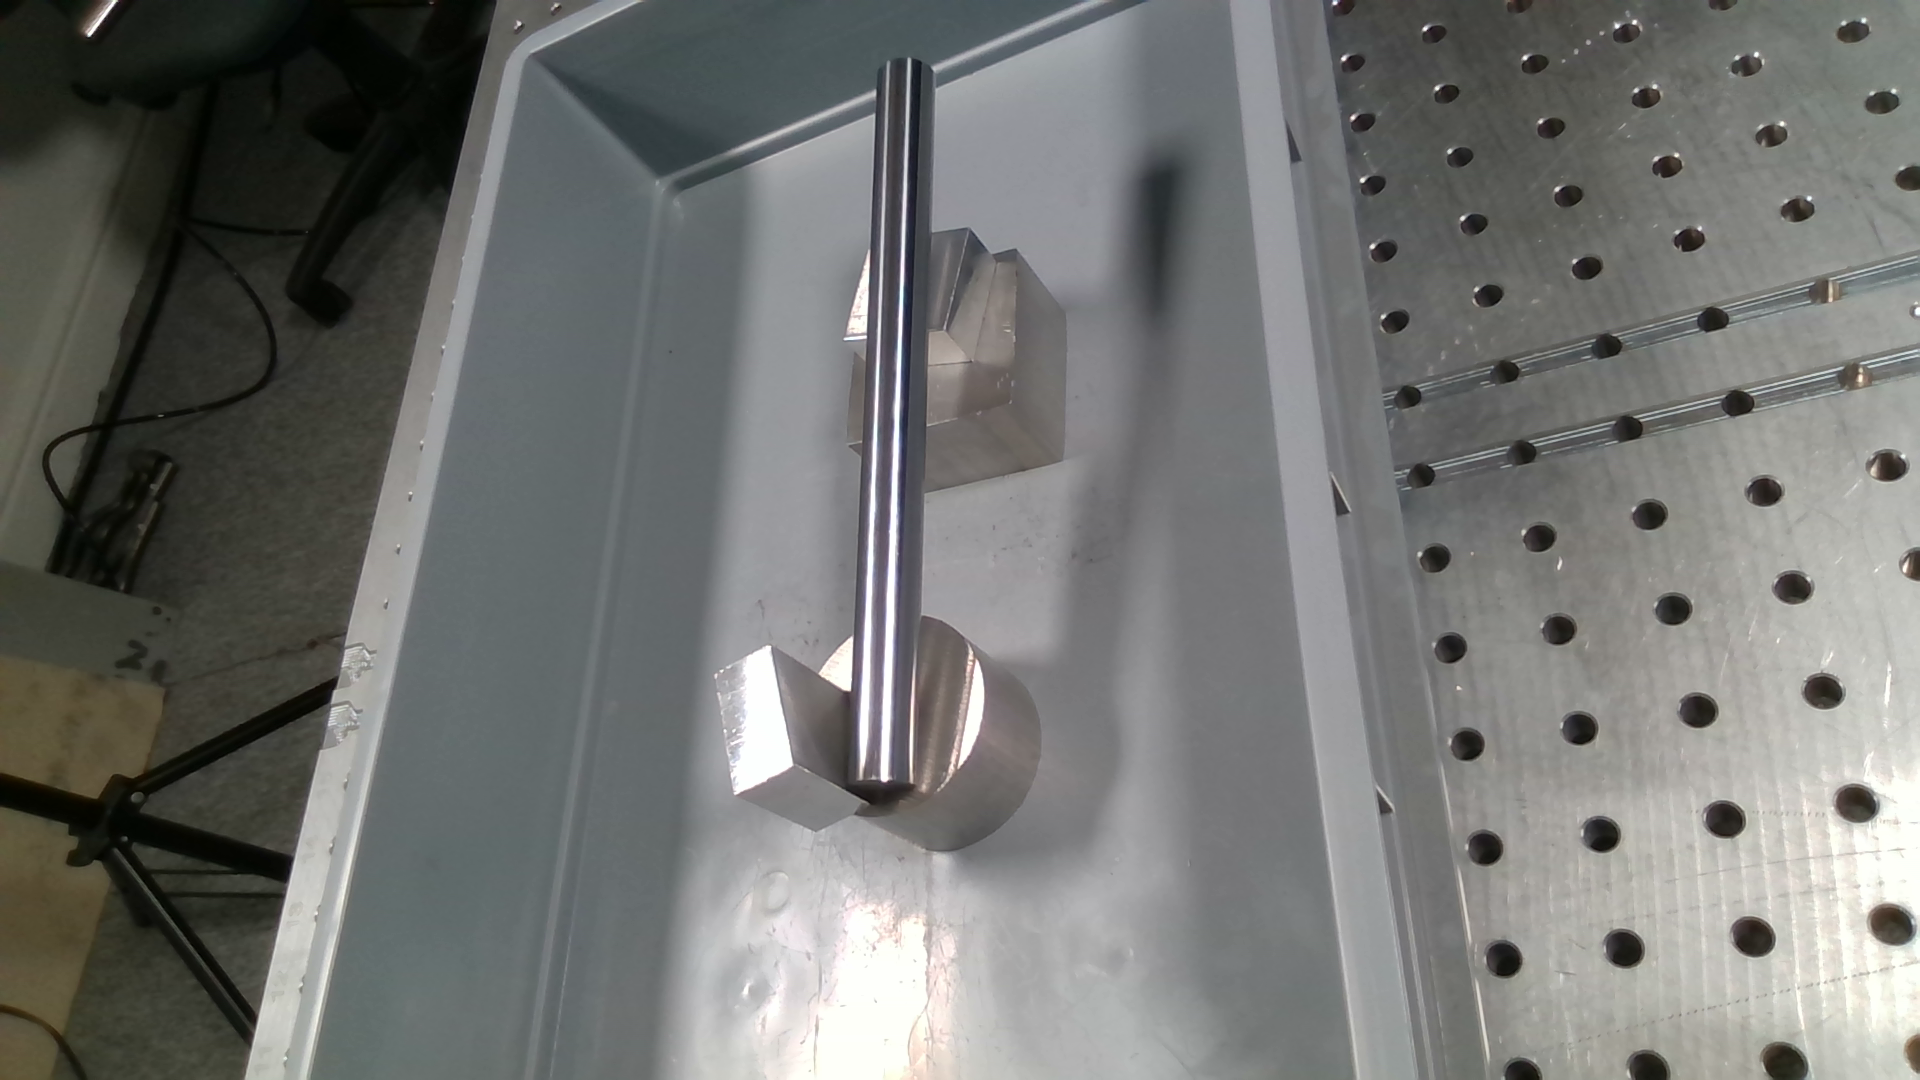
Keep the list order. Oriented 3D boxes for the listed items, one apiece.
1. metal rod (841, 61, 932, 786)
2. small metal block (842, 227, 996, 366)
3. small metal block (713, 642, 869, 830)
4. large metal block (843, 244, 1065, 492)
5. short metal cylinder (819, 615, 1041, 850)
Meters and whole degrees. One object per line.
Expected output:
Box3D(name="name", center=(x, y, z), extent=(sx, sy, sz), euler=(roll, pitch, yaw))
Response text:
Box3D(name="metal rod", center=(-0.027, -0.054, 0.538), extent=(0.025, 0.025, 0.299), euler=(-9, 69, 28))
Box3D(name="small metal block", center=(-0.017, -0.101, 0.583), extent=(0.050, 0.025, 0.050), euler=(-1, 65, 31))
Box3D(name="small metal block", center=(-0.062, 0.072, 0.501), extent=(0.025, 0.050, 0.050), euler=(-27, 54, 17))
Box3D(name="large metal block", center=(-0.001, -0.073, 0.605), extent=(0.080, 0.050, 0.080), euler=(-12, 60, 26))
Box3D(name="short metal cylinder", center=(-0.015, 0.075, 0.537), extent=(0.080, 0.050, 0.080), euler=(-14, 59, 25))
